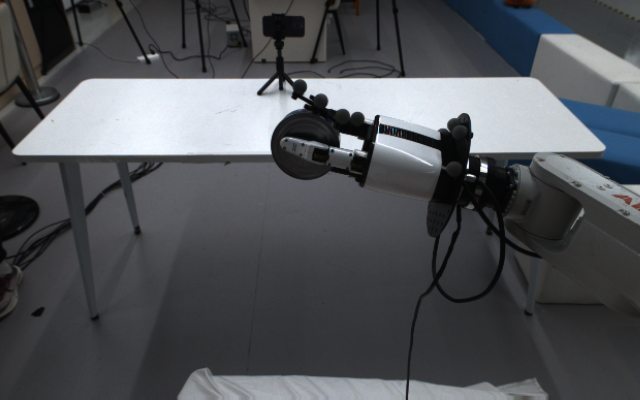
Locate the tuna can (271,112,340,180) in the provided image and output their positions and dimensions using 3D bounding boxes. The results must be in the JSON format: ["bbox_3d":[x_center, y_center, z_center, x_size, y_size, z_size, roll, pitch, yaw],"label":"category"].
[{"bbox_3d":[-0.016,-0.071,0.609,0.085,0.085,0.034,4,20,3],"label":"tuna can"}]
